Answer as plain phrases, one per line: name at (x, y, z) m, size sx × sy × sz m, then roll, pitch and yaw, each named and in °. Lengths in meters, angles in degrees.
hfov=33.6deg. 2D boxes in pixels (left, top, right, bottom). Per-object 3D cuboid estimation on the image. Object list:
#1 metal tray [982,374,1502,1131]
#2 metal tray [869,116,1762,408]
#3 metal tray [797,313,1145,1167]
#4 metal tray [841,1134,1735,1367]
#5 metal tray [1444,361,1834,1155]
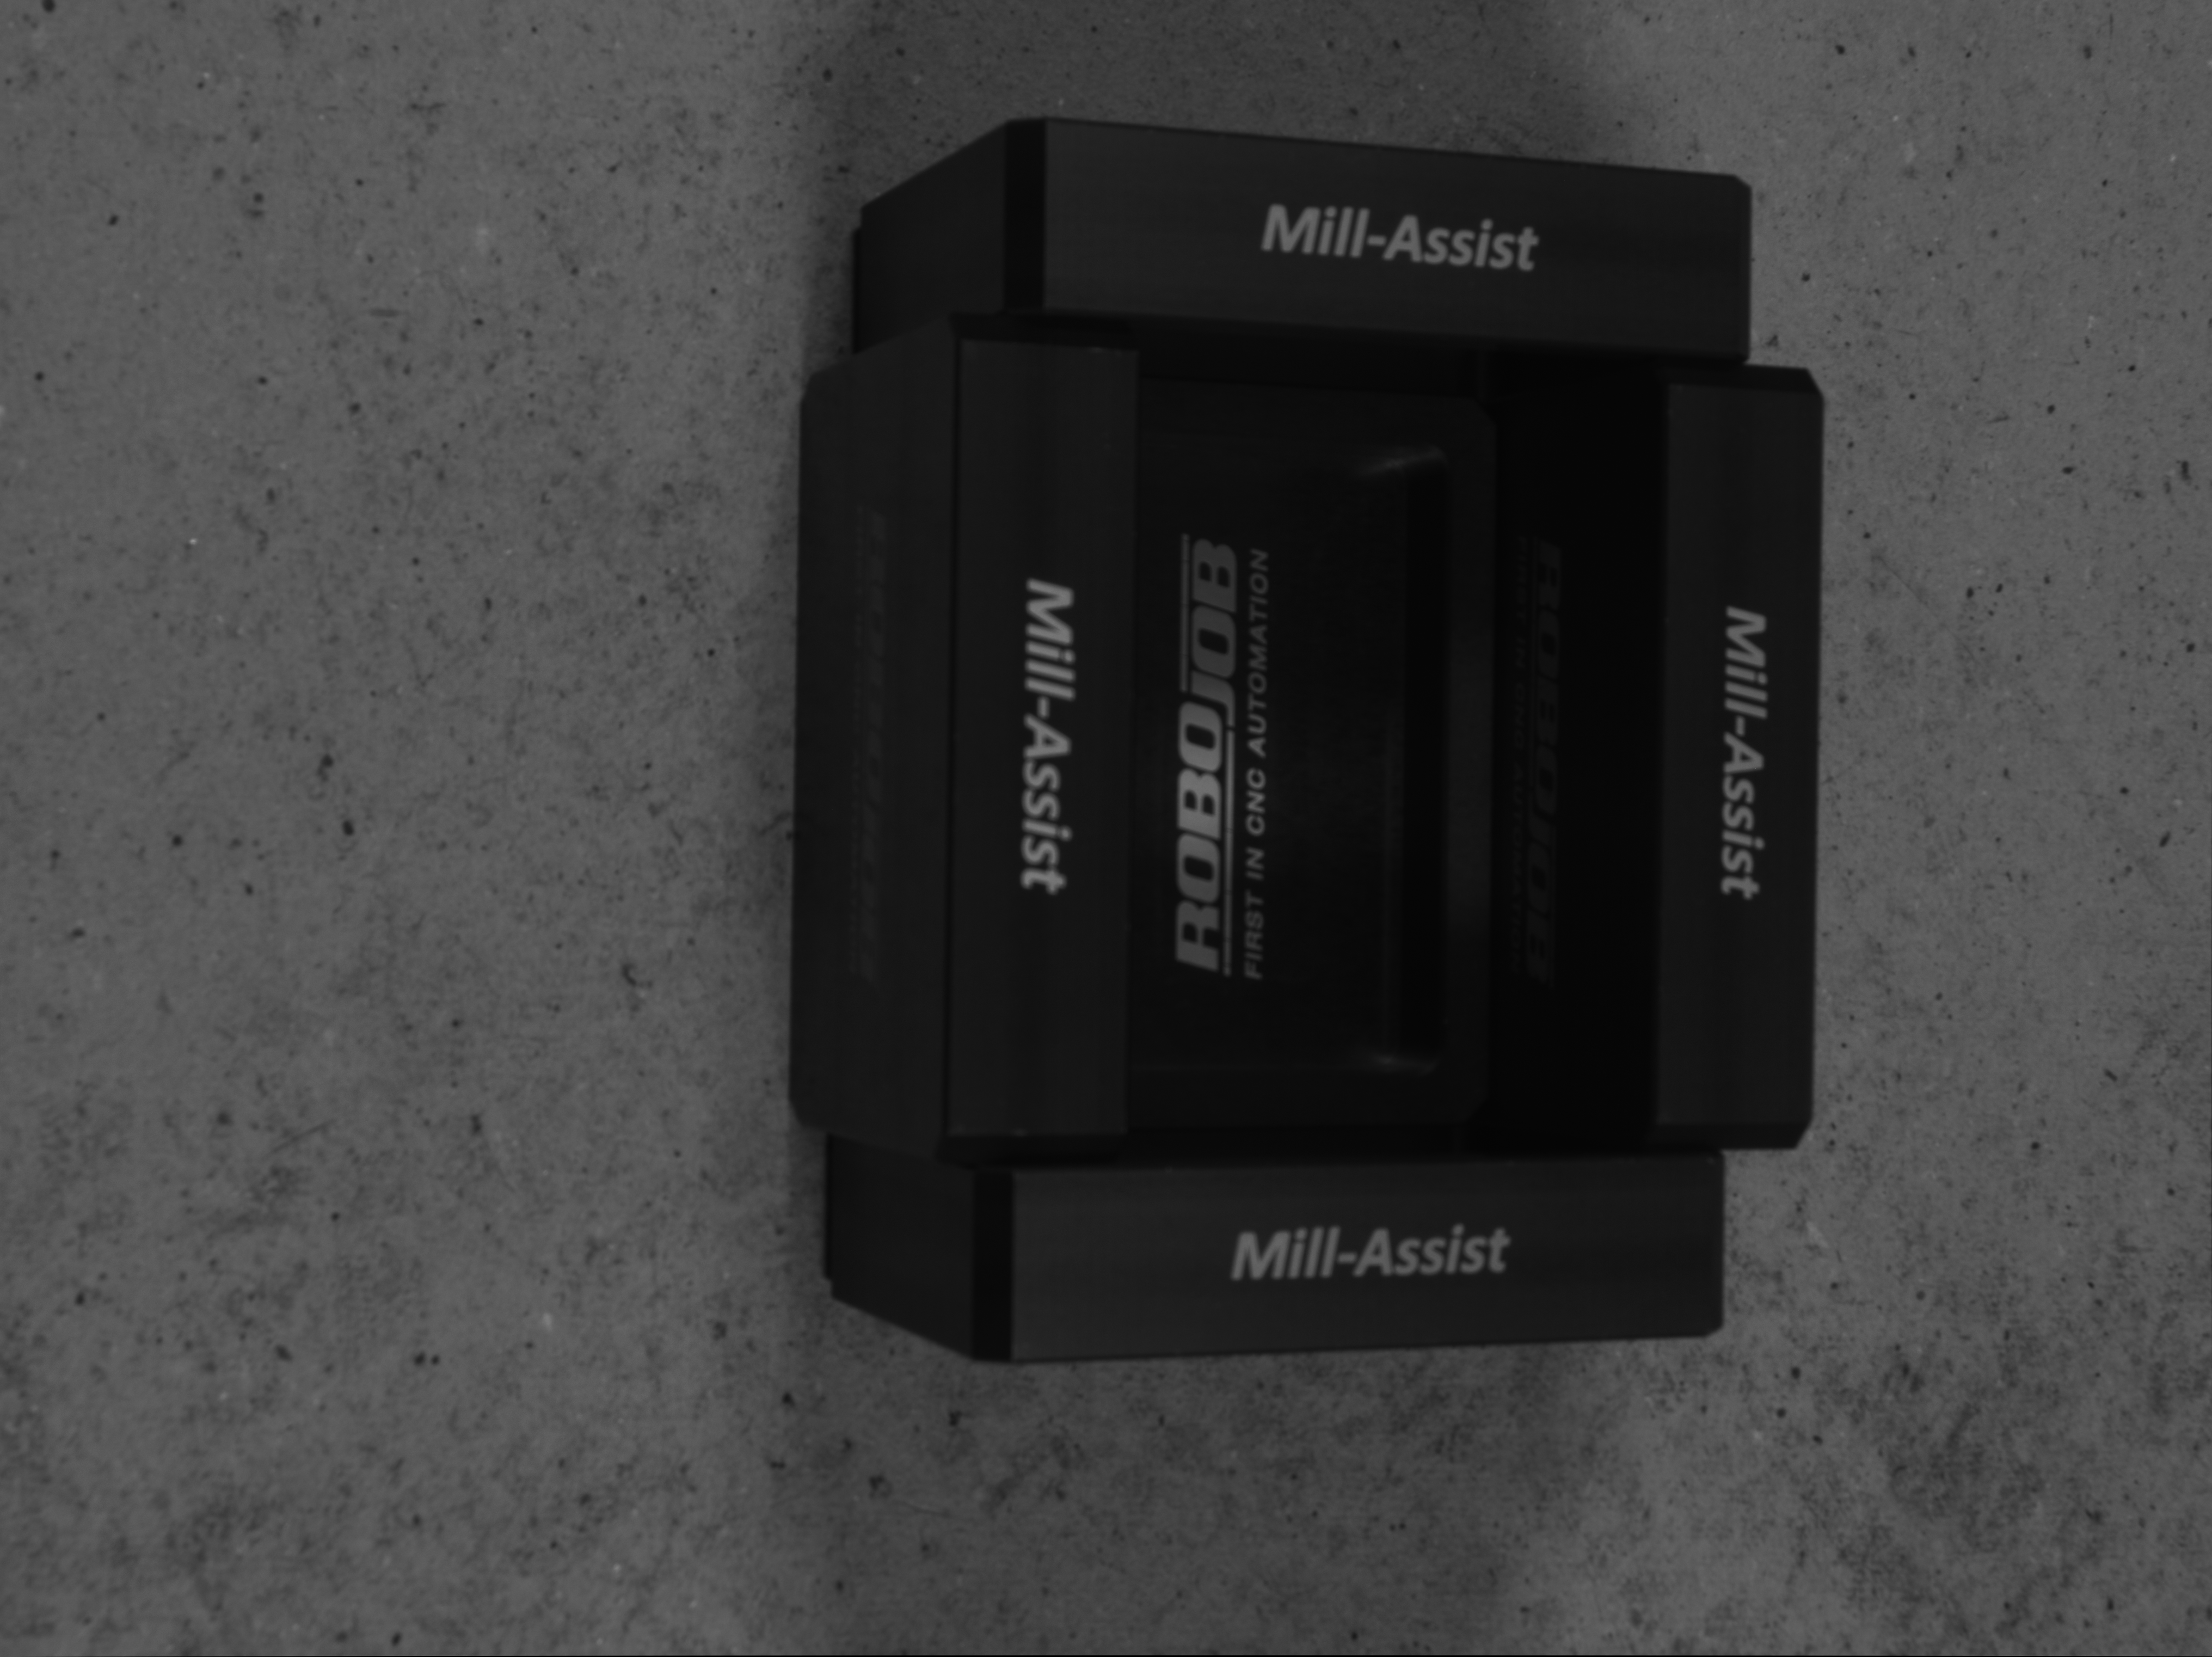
metal tray at (0.023, -0.013, 0.649) m, size 0.090 × 0.030 × 0.130 m, roll 1°, pitch 90°, yaw -20°
metal tray at (0.034, -0.093, 0.621) m, size 0.130 × 0.090 × 0.030 m, roll 1°, pitch 90°, yaw -20°
metal tray at (-0.024, -0.013, 0.600) m, size 0.030 × 0.090 × 0.130 m, roll 1°, pitch 90°, yaw -20°
metal tray at (0.029, 0.068, 0.619) m, size 0.130 × 0.090 × 0.030 m, roll 1°, pitch 90°, yaw -20°
metal tray at (0.091, -0.011, 0.641) m, size 0.030 × 0.090 × 0.130 m, roll 1°, pitch 90°, yaw -20°
